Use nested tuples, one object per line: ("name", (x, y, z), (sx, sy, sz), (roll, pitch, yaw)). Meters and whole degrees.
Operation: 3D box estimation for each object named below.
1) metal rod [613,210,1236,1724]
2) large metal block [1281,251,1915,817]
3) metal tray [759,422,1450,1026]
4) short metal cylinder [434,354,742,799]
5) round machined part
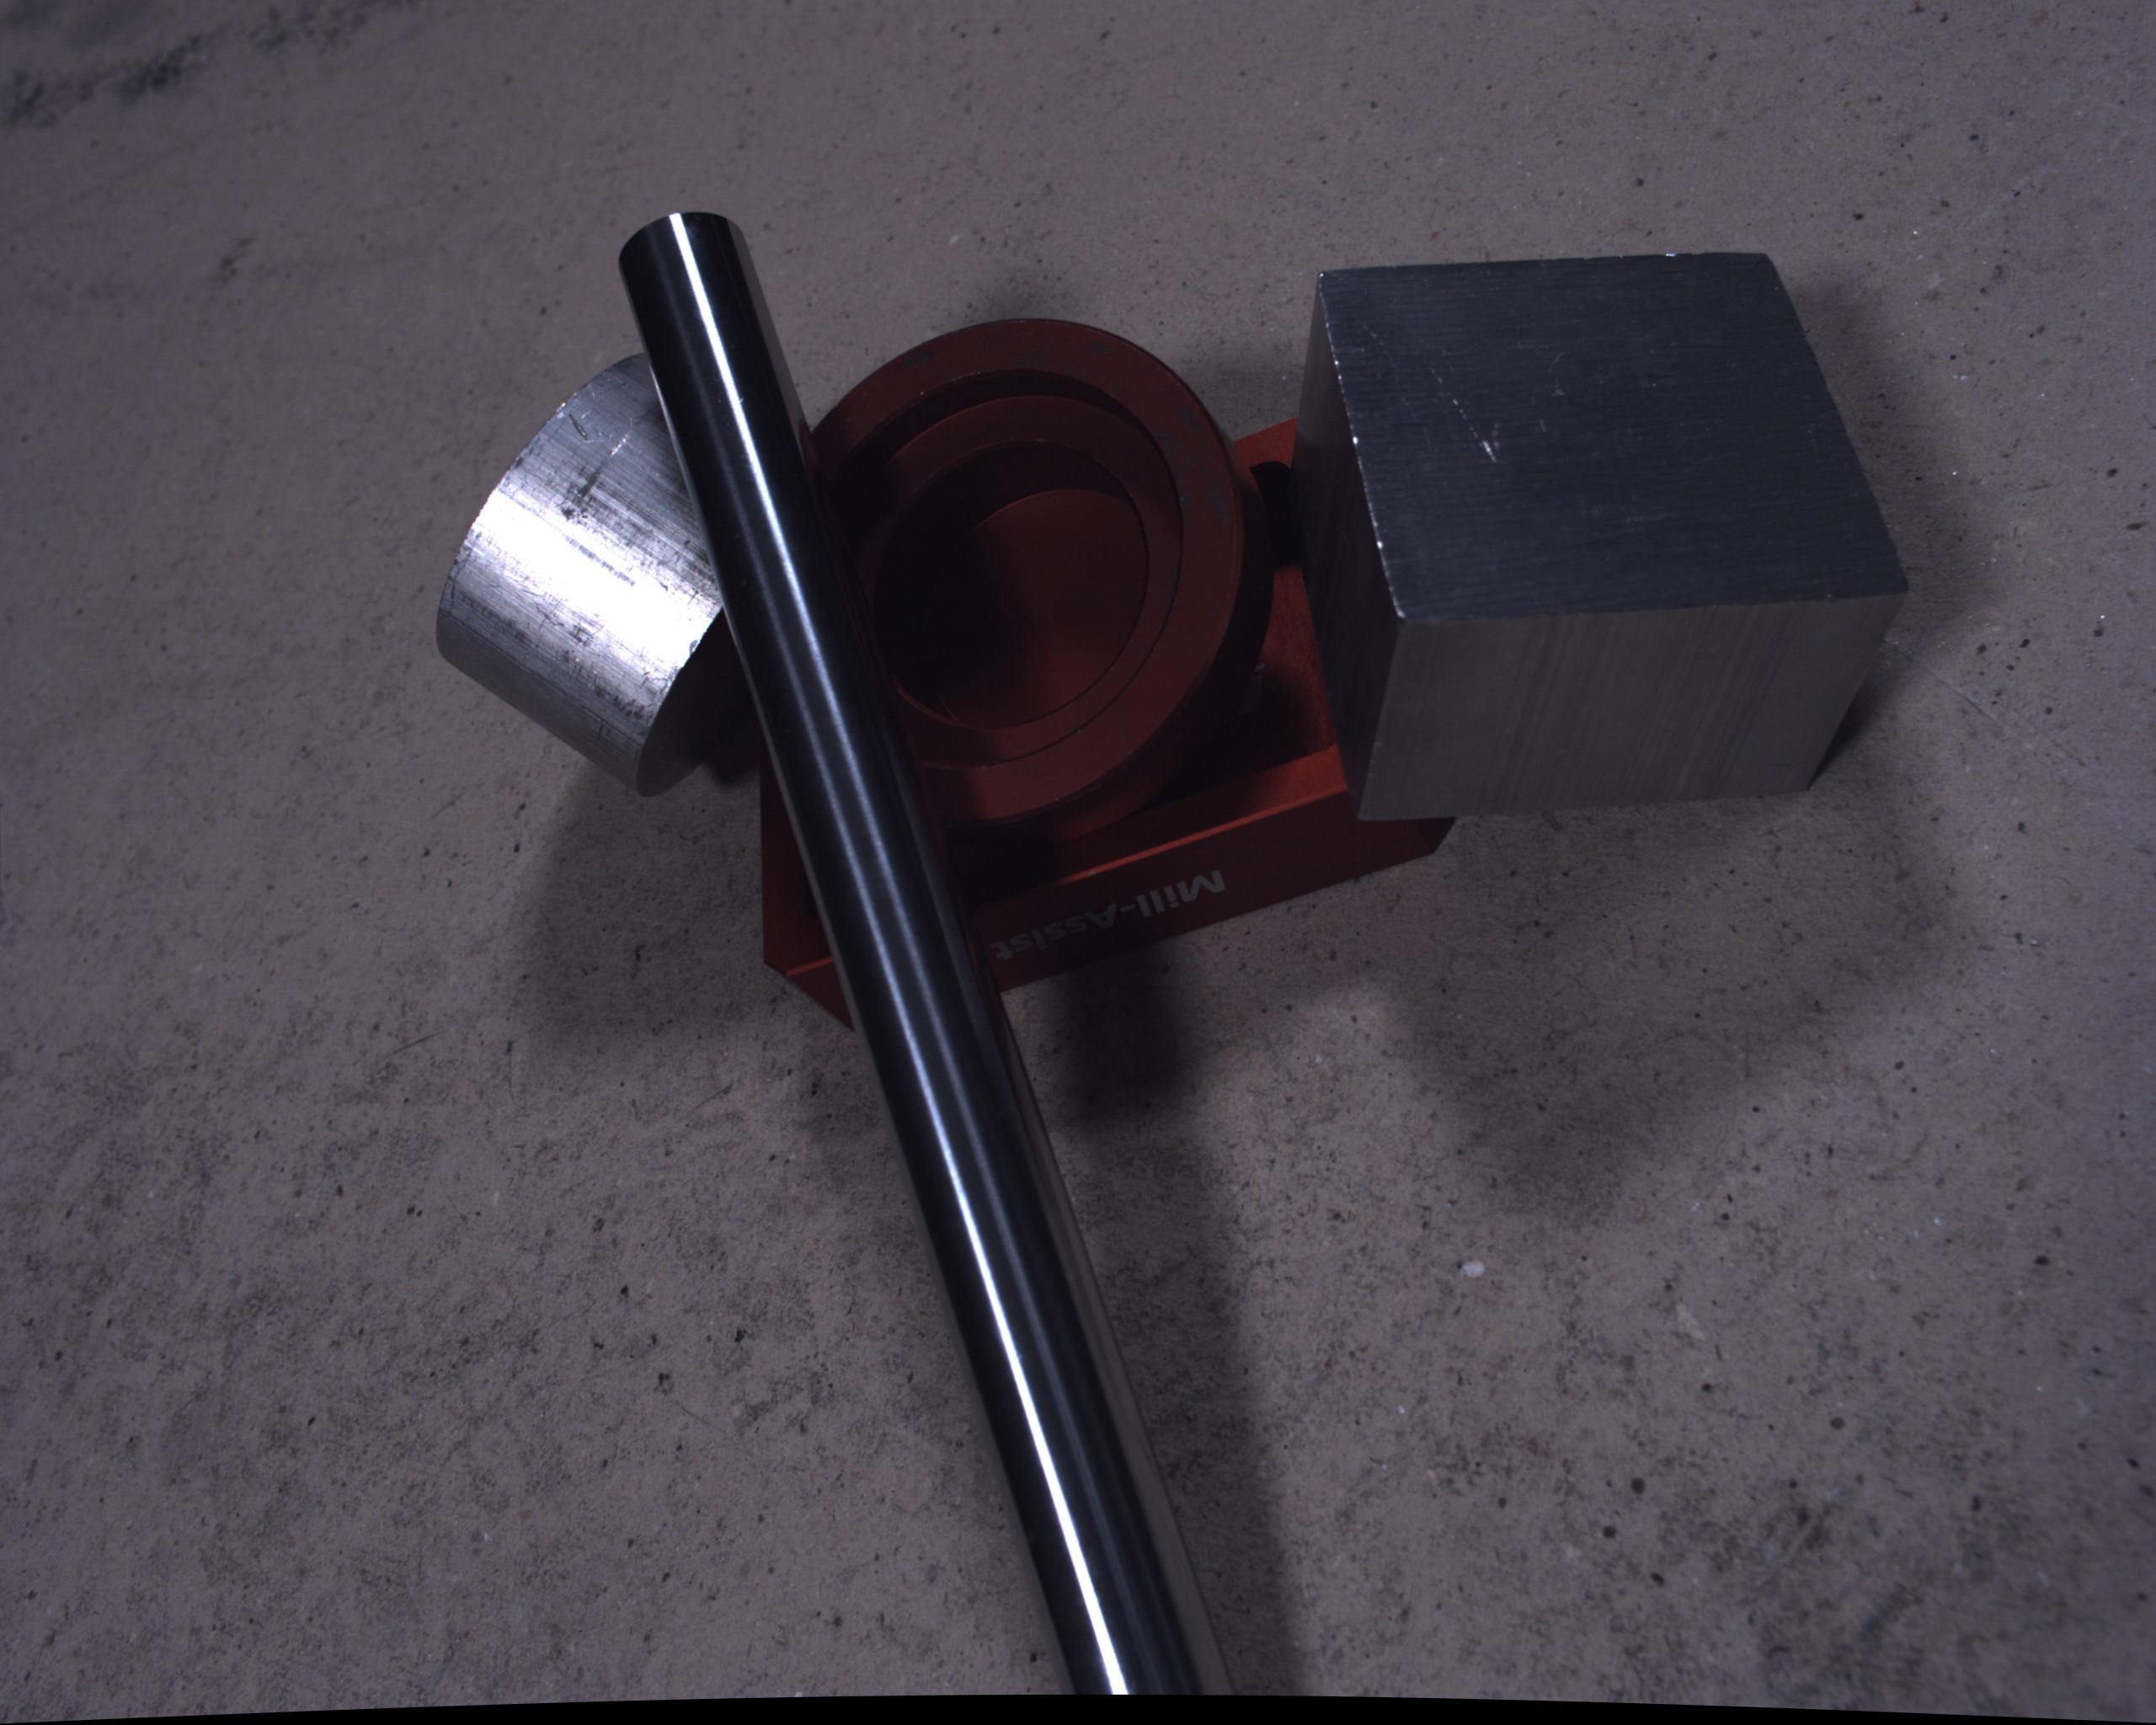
("metal rod", (-0.030, 0.015, 0.354), (0.025, 0.025, 0.299), (-24, 70, 13))
("large metal block", (0.083, -0.057, 0.358), (0.081, 0.050, 0.080), (-4, 56, -5))
("metal tray", (0.000, -0.027, 0.417), (0.130, 0.030, 0.090), (-19, 54, 16))
("short metal cylinder", (-0.090, -0.060, 0.444), (0.050, 0.080, 0.080), (35, 79, 2))
("round machined part", (-0.010, -0.051, 0.399), (0.098, 0.042, 0.098), (-6, 75, 22))
